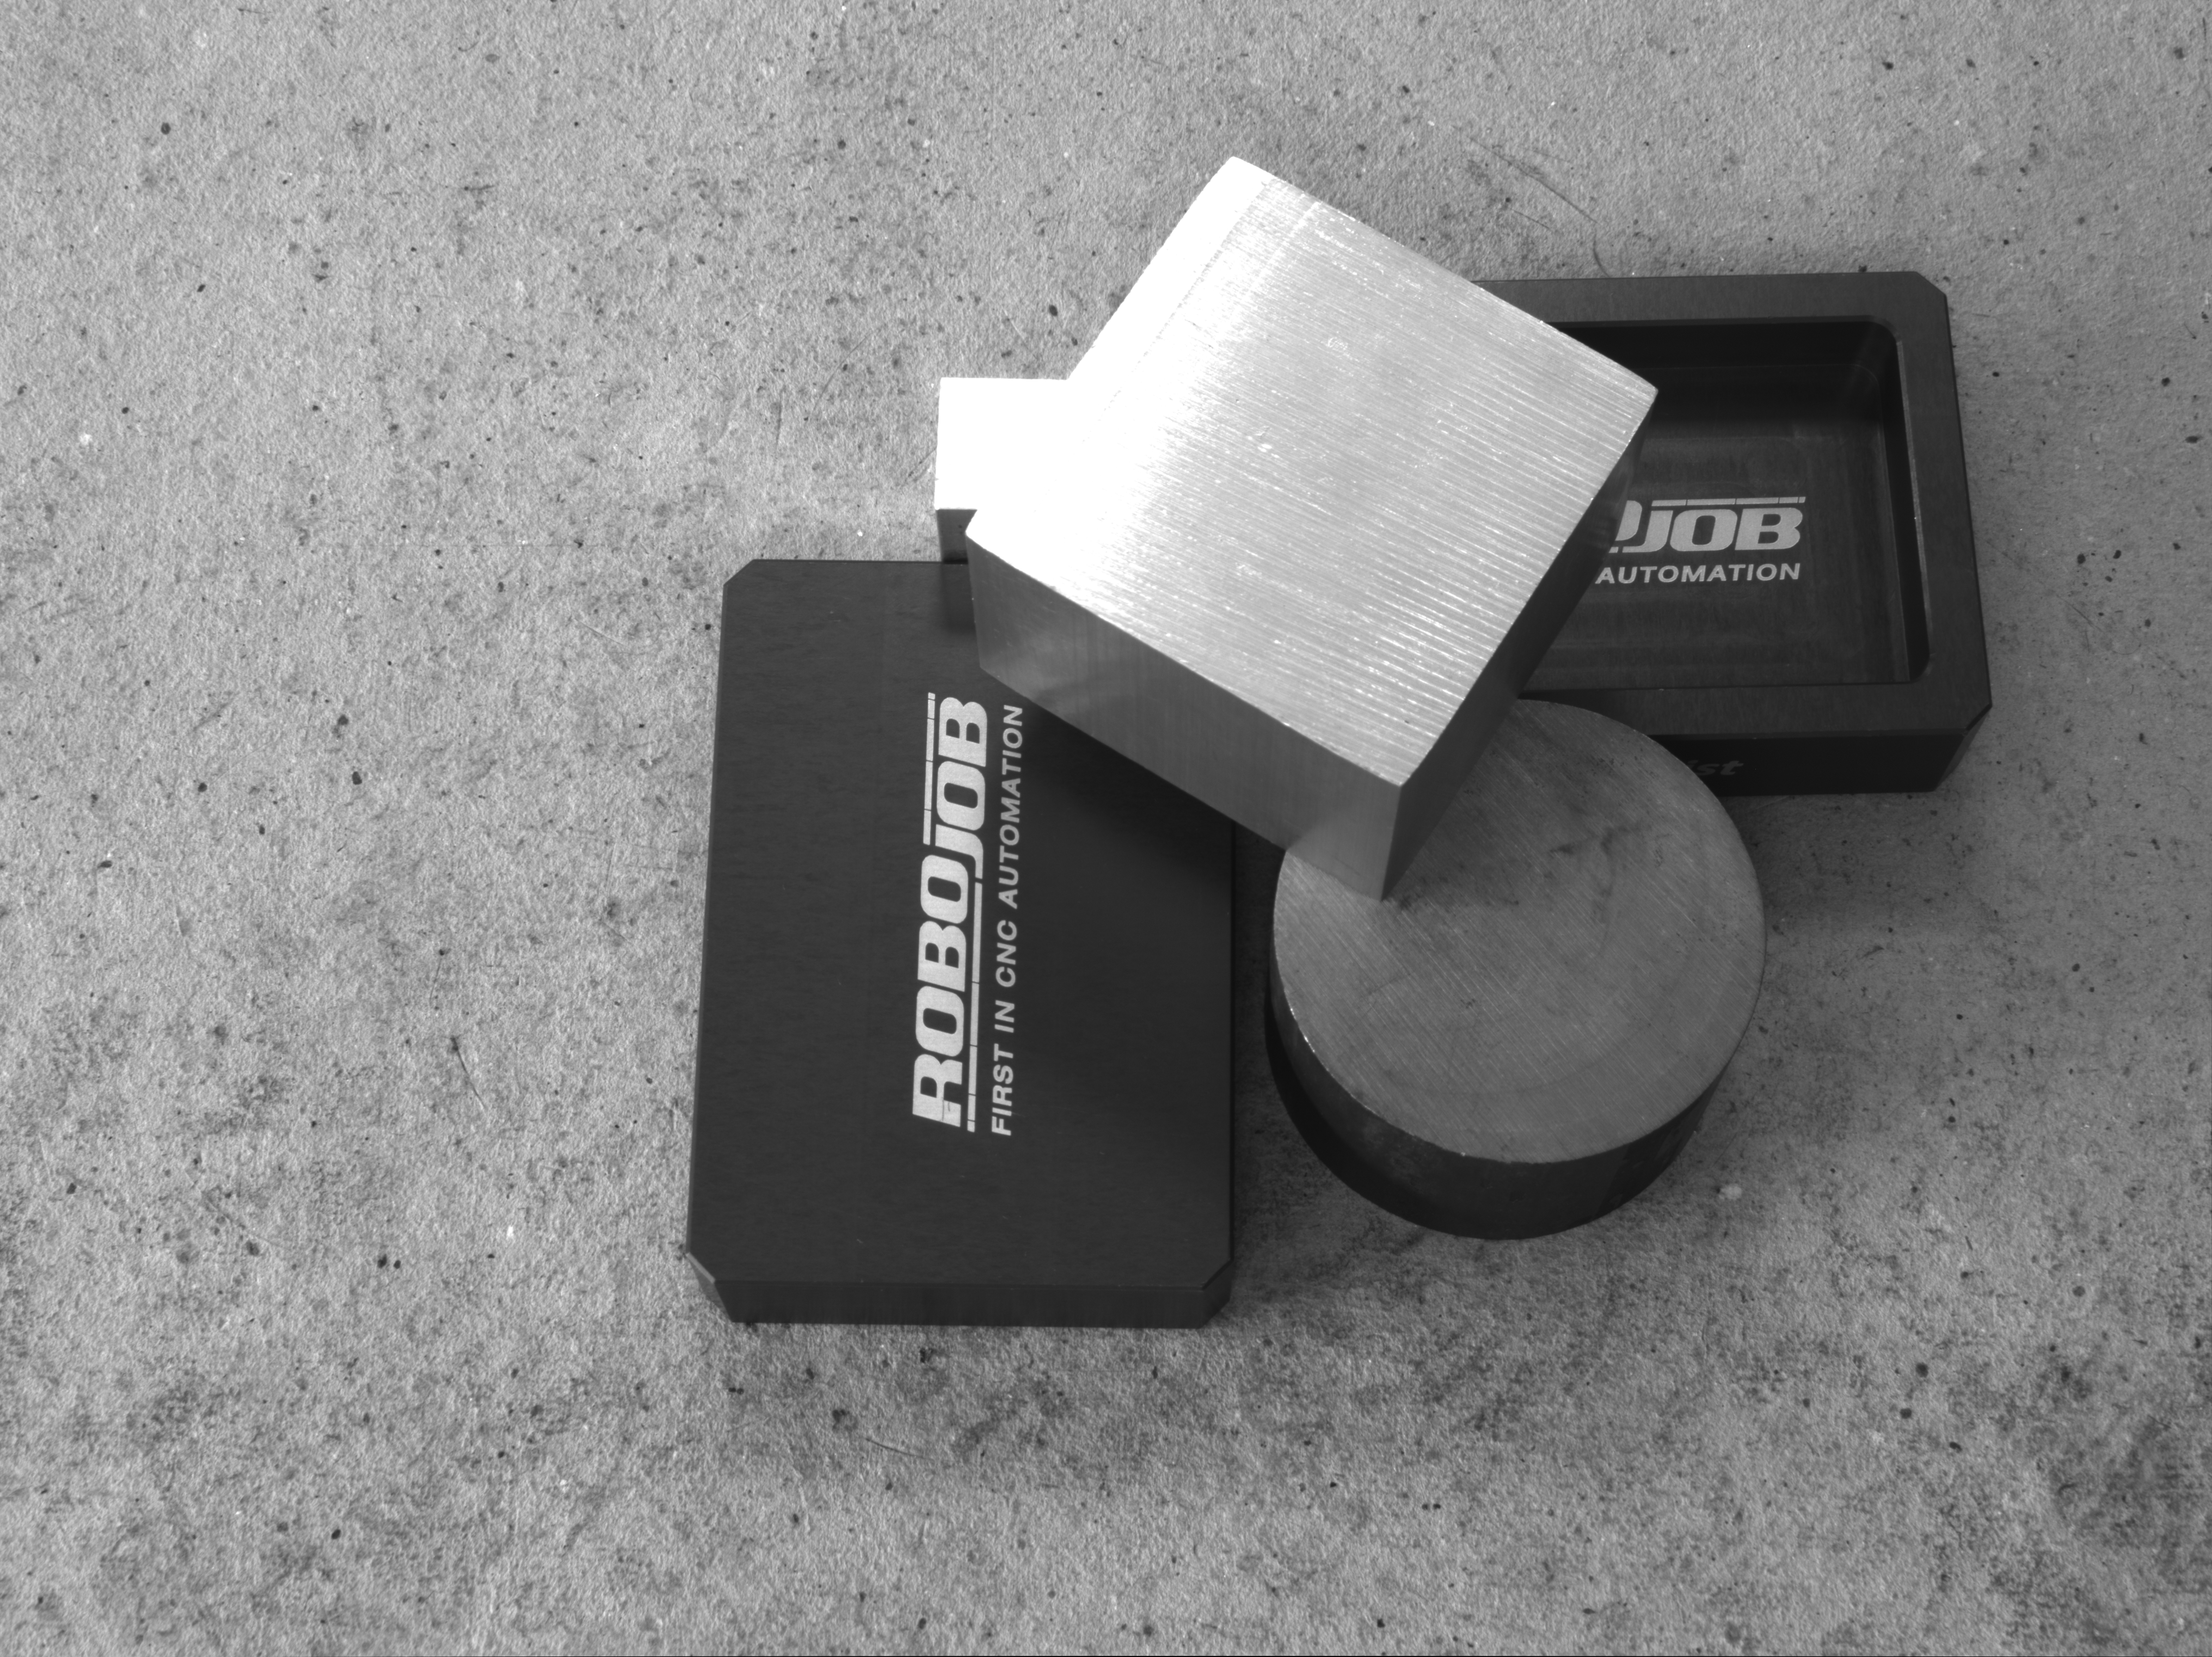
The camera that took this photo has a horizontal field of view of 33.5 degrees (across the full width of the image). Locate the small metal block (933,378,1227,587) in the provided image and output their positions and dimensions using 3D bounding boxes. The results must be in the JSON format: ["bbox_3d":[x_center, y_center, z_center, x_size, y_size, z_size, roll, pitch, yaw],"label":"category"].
[{"bbox_3d":[-0.004,-0.057,0.653,0.050,0.050,0.025,1,70,0],"label":"small metal block"}]

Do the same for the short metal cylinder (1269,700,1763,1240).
[{"bbox_3d":[0.068,0.025,0.623,0.080,0.050,0.080,0,70,1],"label":"short metal cylinder"}]

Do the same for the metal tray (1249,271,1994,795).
[{"bbox_3d":[0.088,-0.052,0.662,0.130,0.030,0.090,-1,70,0],"label":"metal tray"}]

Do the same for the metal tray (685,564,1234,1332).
[{"bbox_3d":[-0.023,0.020,0.637,0.090,0.030,0.130,1,70,1],"label":"metal tray"}]

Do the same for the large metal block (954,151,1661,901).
[{"bbox_3d":[0.032,-0.049,0.595,0.080,0.050,0.080,31,73,11],"label":"large metal block"}]
